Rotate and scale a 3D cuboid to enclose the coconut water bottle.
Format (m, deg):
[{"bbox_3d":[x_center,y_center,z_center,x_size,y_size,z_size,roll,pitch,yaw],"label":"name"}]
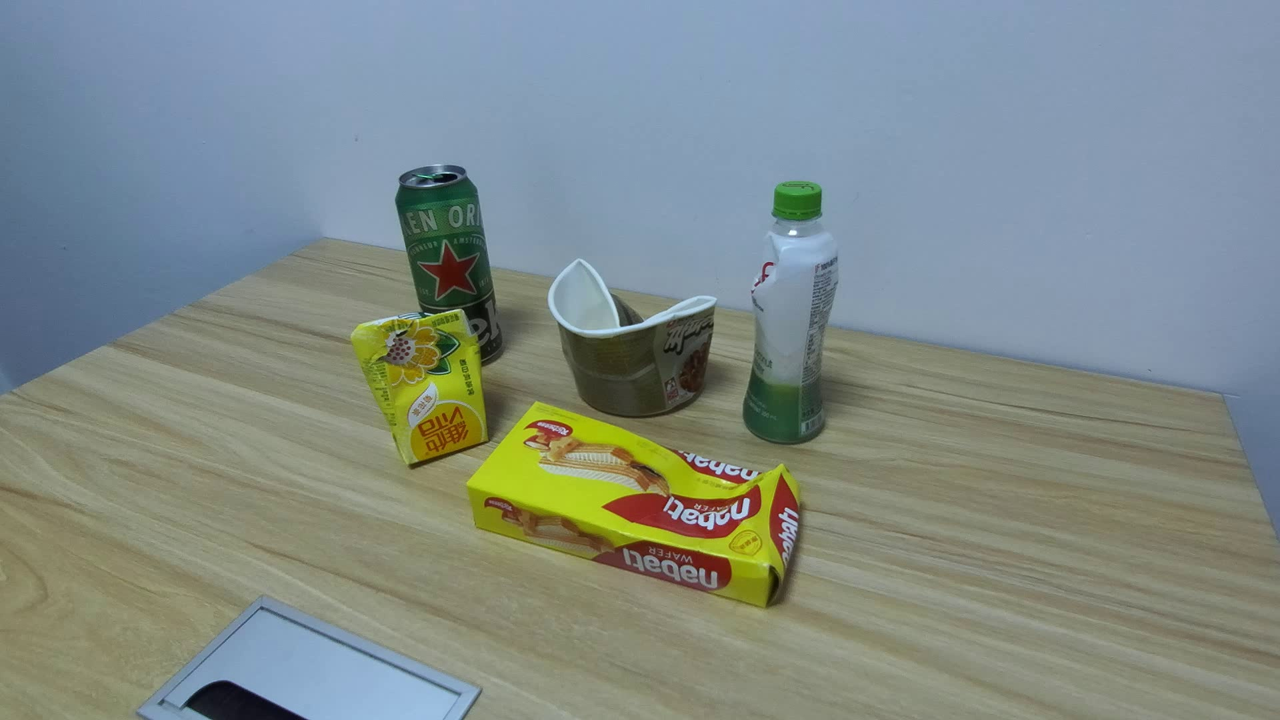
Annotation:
[{"bbox_3d":[0.107,-0.033,0.502,0.069,0.186,0.069,-2,31,2],"label":"coconut water bottle"}]

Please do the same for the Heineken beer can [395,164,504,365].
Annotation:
[{"bbox_3d":[-0.164,-0.078,0.617,0.067,0.169,0.067,-2,32,2],"label":"Heineken beer can"}]

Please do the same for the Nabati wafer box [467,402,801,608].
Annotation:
[{"bbox_3d":[0.002,0.087,0.465,0.203,0.042,0.107,12,36,19],"label":"Nabati wafer box"}]

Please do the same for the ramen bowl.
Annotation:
[{"bbox_3d":[-0.010,-0.019,0.578,0.137,0.098,0.137,-3,31,2],"label":"ramen bowl"}]

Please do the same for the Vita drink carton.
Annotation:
[{"bbox_3d":[-0.162,0.015,0.531,0.087,0.108,0.042,-15,21,-25],"label":"Vita drink carton"}]
